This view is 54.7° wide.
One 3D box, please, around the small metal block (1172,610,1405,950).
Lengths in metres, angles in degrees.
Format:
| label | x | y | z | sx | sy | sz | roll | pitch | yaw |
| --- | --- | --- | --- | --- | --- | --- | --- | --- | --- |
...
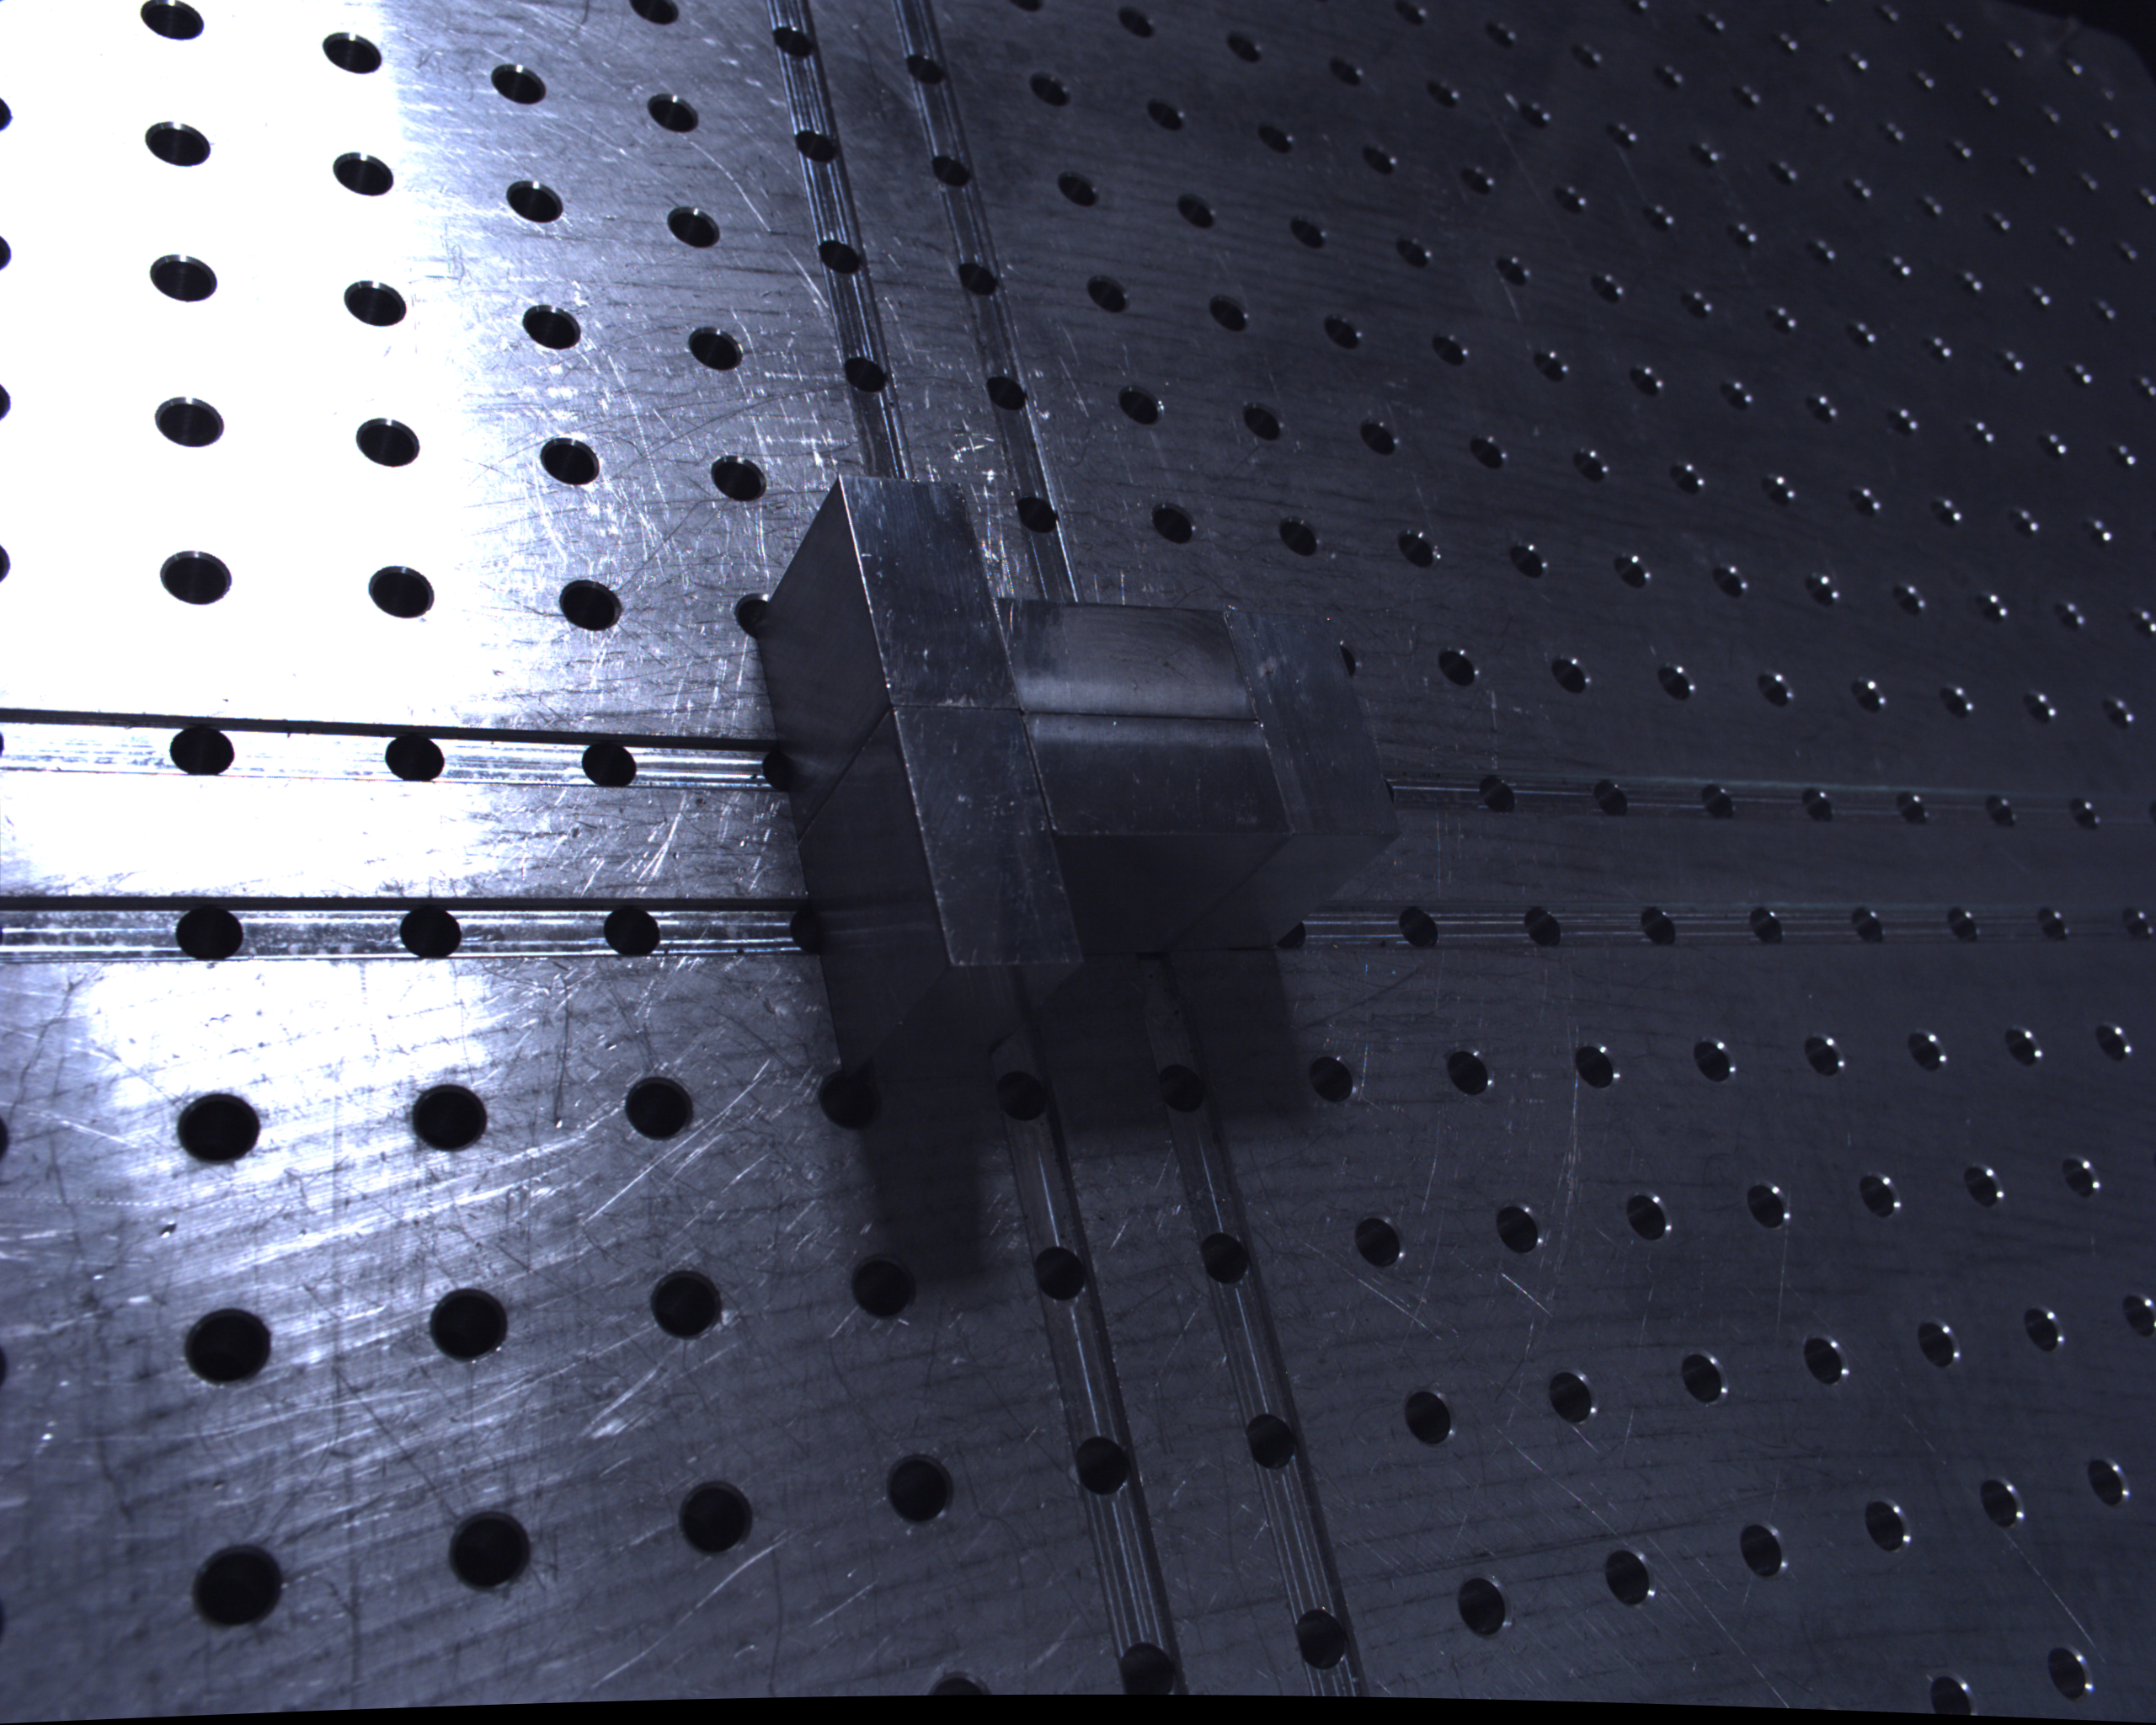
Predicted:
| label | x | y | z | sx | sy | sz | roll | pitch | yaw |
| --- | --- | --- | --- | --- | --- | --- | --- | --- | --- |
| small metal block | 0.035 | -0.016 | 0.421 | 0.025 | 0.050 | 0.050 | 0 | 62 | -29 |

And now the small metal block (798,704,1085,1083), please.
| label | x | y | z | sx | sy | sz | roll | pitch | yaw |
| --- | --- | --- | --- | --- | --- | --- | --- | --- | --- |
| small metal block | -0.026 | 0.006 | 0.375 | 0.025 | 0.050 | 0.050 | 0 | 62 | -29 |

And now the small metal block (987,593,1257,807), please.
| label | x | y | z | sx | sy | sz | roll | pitch | yaw |
| --- | --- | --- | --- | --- | --- | --- | --- | --- | --- |
| small metal block | -0.002 | -0.027 | 0.408 | 0.050 | 0.050 | 0.025 | 0 | 62 | -29 |

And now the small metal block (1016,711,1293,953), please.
| label | x | y | z | sx | sy | sz | roll | pitch | yaw |
| --- | --- | --- | --- | --- | --- | --- | --- | --- | --- |
| small metal block | 0.004 | -0.005 | 0.398 | 0.050 | 0.050 | 0.025 | 0 | 62 | -29 |

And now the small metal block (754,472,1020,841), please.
| label | x | y | z | sx | sy | sz | roll | pitch | yaw |
| --- | --- | --- | --- | --- | --- | --- | --- | --- | --- |
| small metal block | -0.038 | -0.038 | 0.395 | 0.025 | 0.050 | 0.050 | 0 | 62 | -29 |
